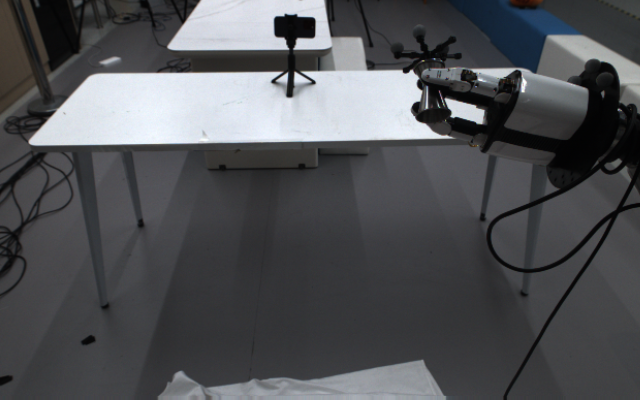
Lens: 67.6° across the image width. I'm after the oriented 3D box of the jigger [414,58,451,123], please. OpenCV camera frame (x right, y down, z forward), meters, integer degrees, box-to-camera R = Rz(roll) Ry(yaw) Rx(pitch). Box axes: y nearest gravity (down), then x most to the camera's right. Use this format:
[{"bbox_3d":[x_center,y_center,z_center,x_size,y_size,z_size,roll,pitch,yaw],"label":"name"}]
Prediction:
[{"bbox_3d":[0.140,-0.138,0.608,0.043,0.043,0.071,0,75,-3],"label":"jigger"}]
